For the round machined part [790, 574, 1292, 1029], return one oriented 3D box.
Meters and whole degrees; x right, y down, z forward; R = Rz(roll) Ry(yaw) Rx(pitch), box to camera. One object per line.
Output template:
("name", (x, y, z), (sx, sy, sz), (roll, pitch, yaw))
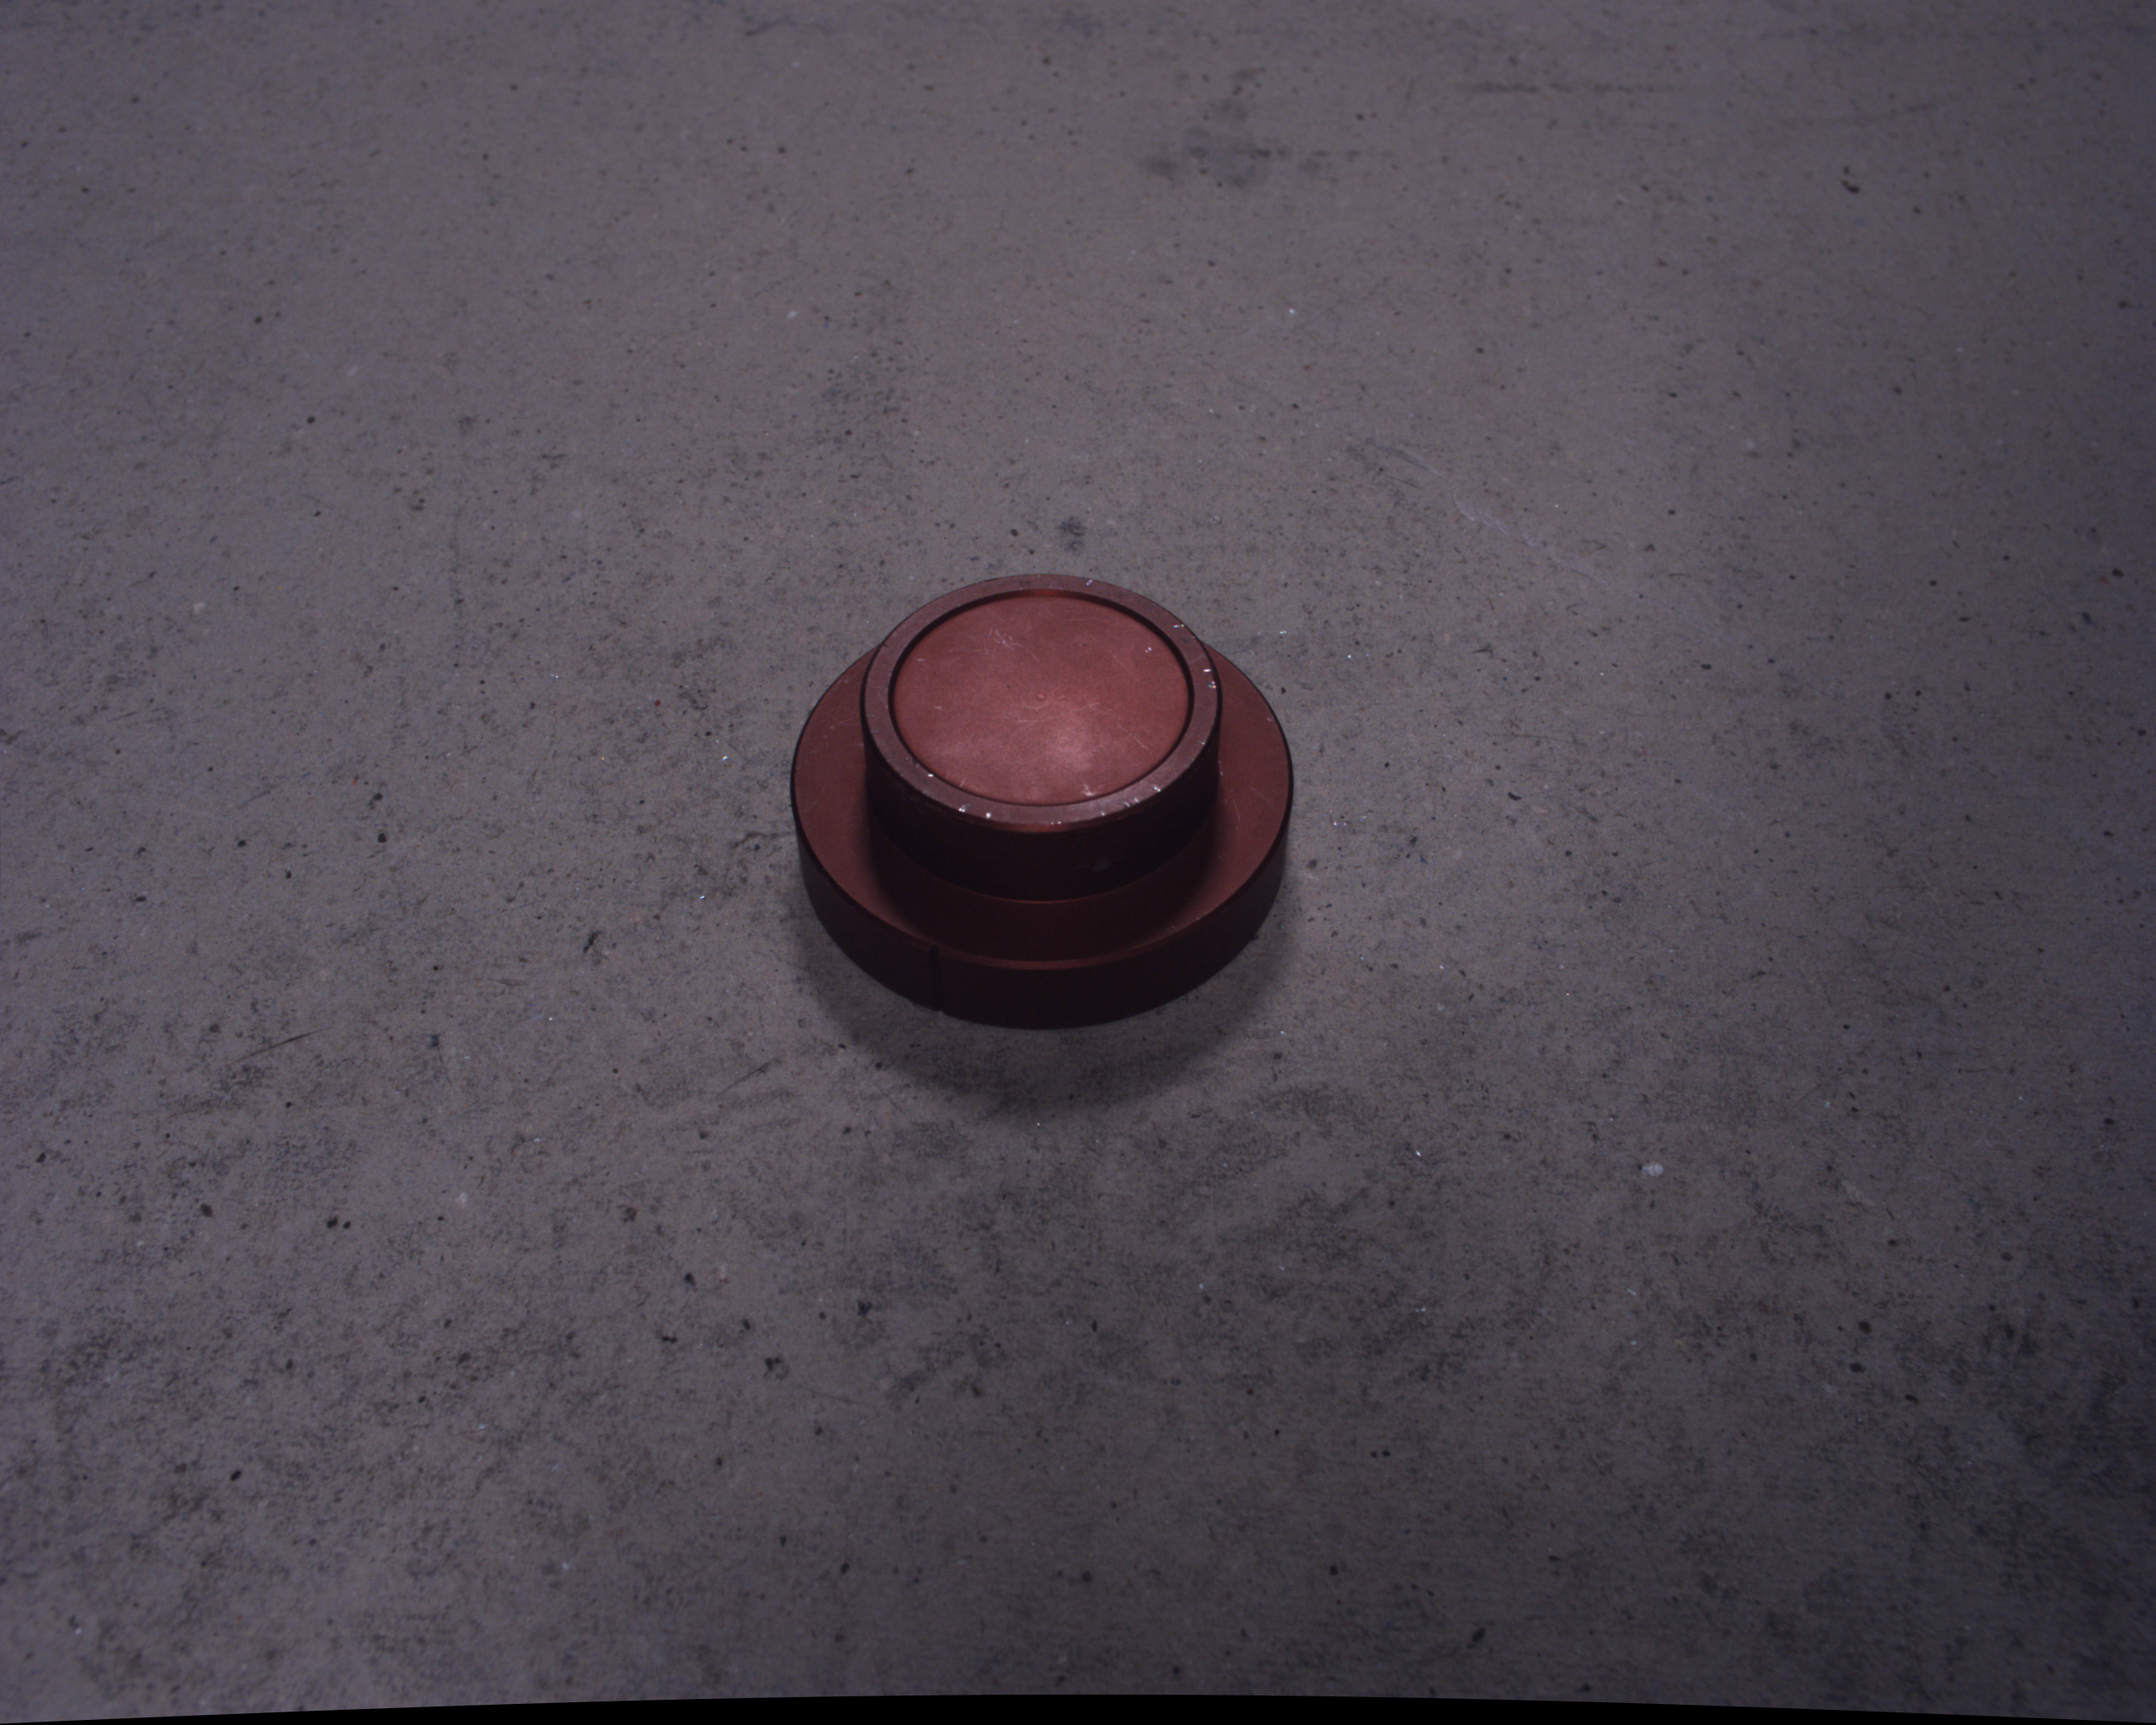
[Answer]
("round machined part", (-0.007, -0.019, 0.409), (0.099, 0.042, 0.098), (0, 50, 0))
